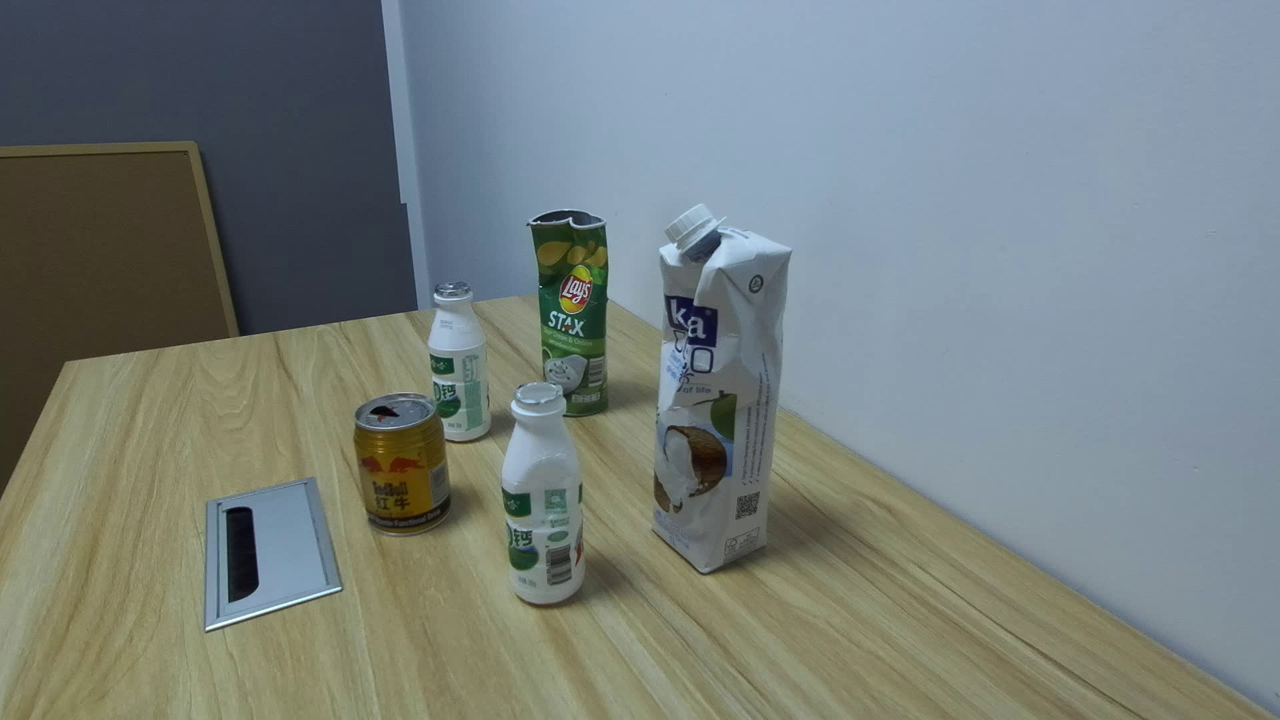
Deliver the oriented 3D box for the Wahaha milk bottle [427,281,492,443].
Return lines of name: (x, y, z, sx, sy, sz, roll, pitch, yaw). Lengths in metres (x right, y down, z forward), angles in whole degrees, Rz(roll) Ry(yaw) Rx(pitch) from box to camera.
Wahaha milk bottle: (-0.170, 0.003, 0.660, 0.053, 0.147, 0.053, 0, 22, 0)

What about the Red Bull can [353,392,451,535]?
Red Bull can: (-0.184, 0.080, 0.550, 0.067, 0.093, 0.067, 0, 24, 0)

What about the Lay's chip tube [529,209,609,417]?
Lay's chip tube: (-0.066, -0.046, 0.706, 0.077, 0.201, 0.069, -2, 22, 1)

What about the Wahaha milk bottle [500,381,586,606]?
Wahaha milk bottle: (-0.064, 0.087, 0.462, 0.055, 0.149, 0.055, 0, 25, 0)
